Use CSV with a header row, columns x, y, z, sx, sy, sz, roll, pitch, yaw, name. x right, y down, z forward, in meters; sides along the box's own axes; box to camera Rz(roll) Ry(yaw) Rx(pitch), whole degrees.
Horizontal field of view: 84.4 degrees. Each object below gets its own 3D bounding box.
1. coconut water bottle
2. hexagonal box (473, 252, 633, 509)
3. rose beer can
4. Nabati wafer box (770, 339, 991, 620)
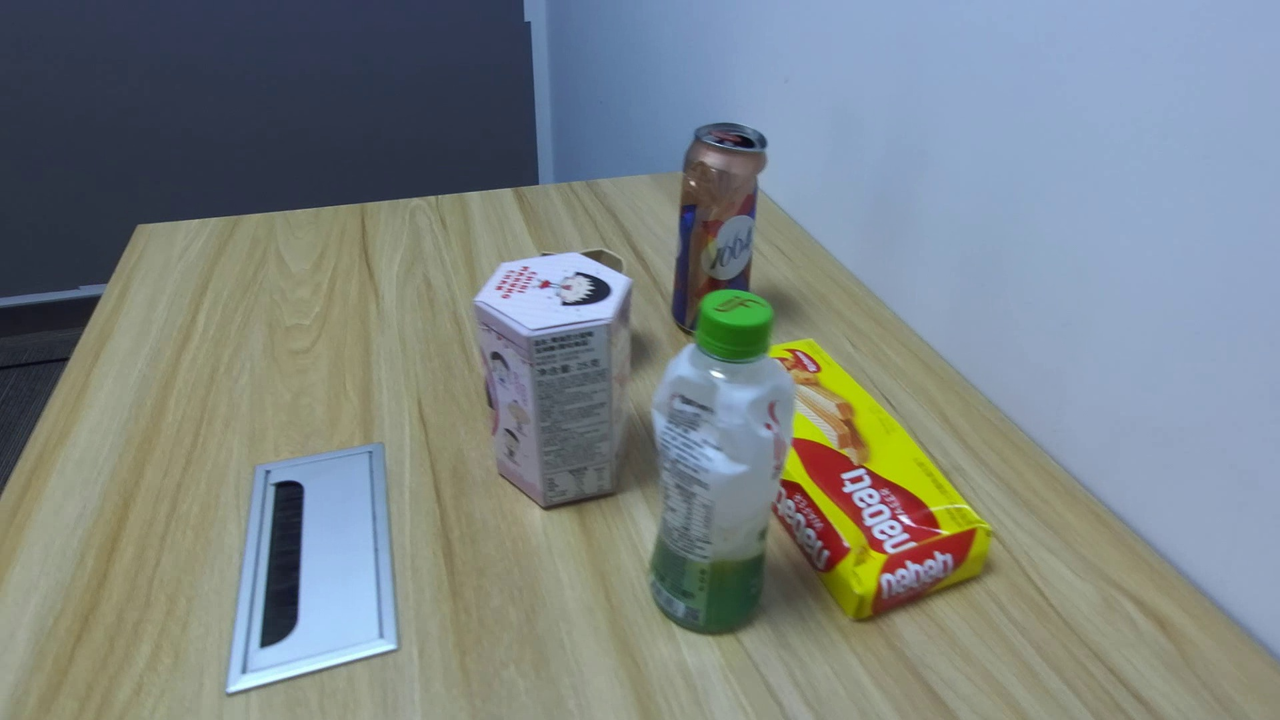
x,y,z,sx,sy,sz,roll,pitch,yaw,name
0.040,0.054,0.348,0.067,0.187,0.067,1,34,0,coconut water bottle
-0.051,0.014,0.440,0.084,0.136,0.091,8,37,9,hexagonal box
0.065,-0.099,0.569,0.076,0.167,0.065,-25,45,-36,rose beer can
0.124,0.063,0.463,0.097,0.042,0.202,-10,40,-19,Nabati wafer box
